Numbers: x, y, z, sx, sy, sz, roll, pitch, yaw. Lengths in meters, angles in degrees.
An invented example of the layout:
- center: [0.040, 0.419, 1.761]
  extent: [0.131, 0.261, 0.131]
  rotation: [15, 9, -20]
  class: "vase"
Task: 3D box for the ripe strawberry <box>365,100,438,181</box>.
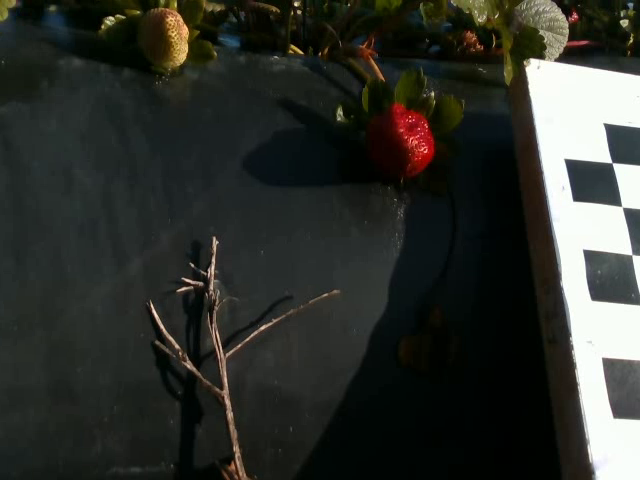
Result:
- center: [0.013, -0.017, 0.095]
  extent: [0.015, 0.015, 0.023]
  rotation: [14, 11, -4]
  class: "ripe strawberry"
